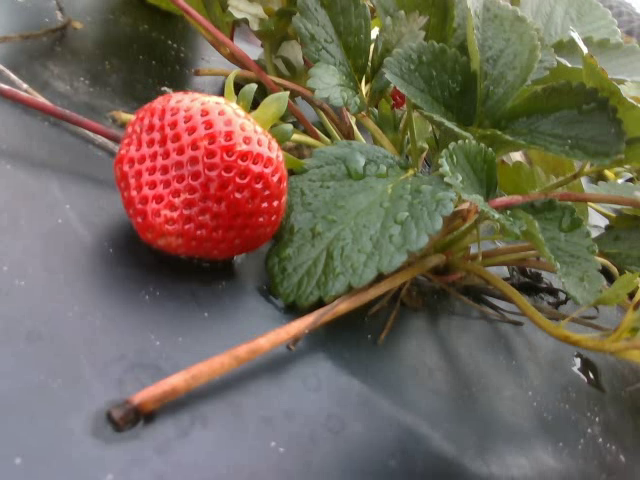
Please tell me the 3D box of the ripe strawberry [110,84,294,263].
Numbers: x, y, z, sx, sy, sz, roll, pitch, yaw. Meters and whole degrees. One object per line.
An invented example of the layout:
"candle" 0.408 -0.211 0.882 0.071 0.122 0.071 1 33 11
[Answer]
"ripe strawberry" -0.038 -0.022 0.190 0.061 0.065 0.049 37 -31 -17
